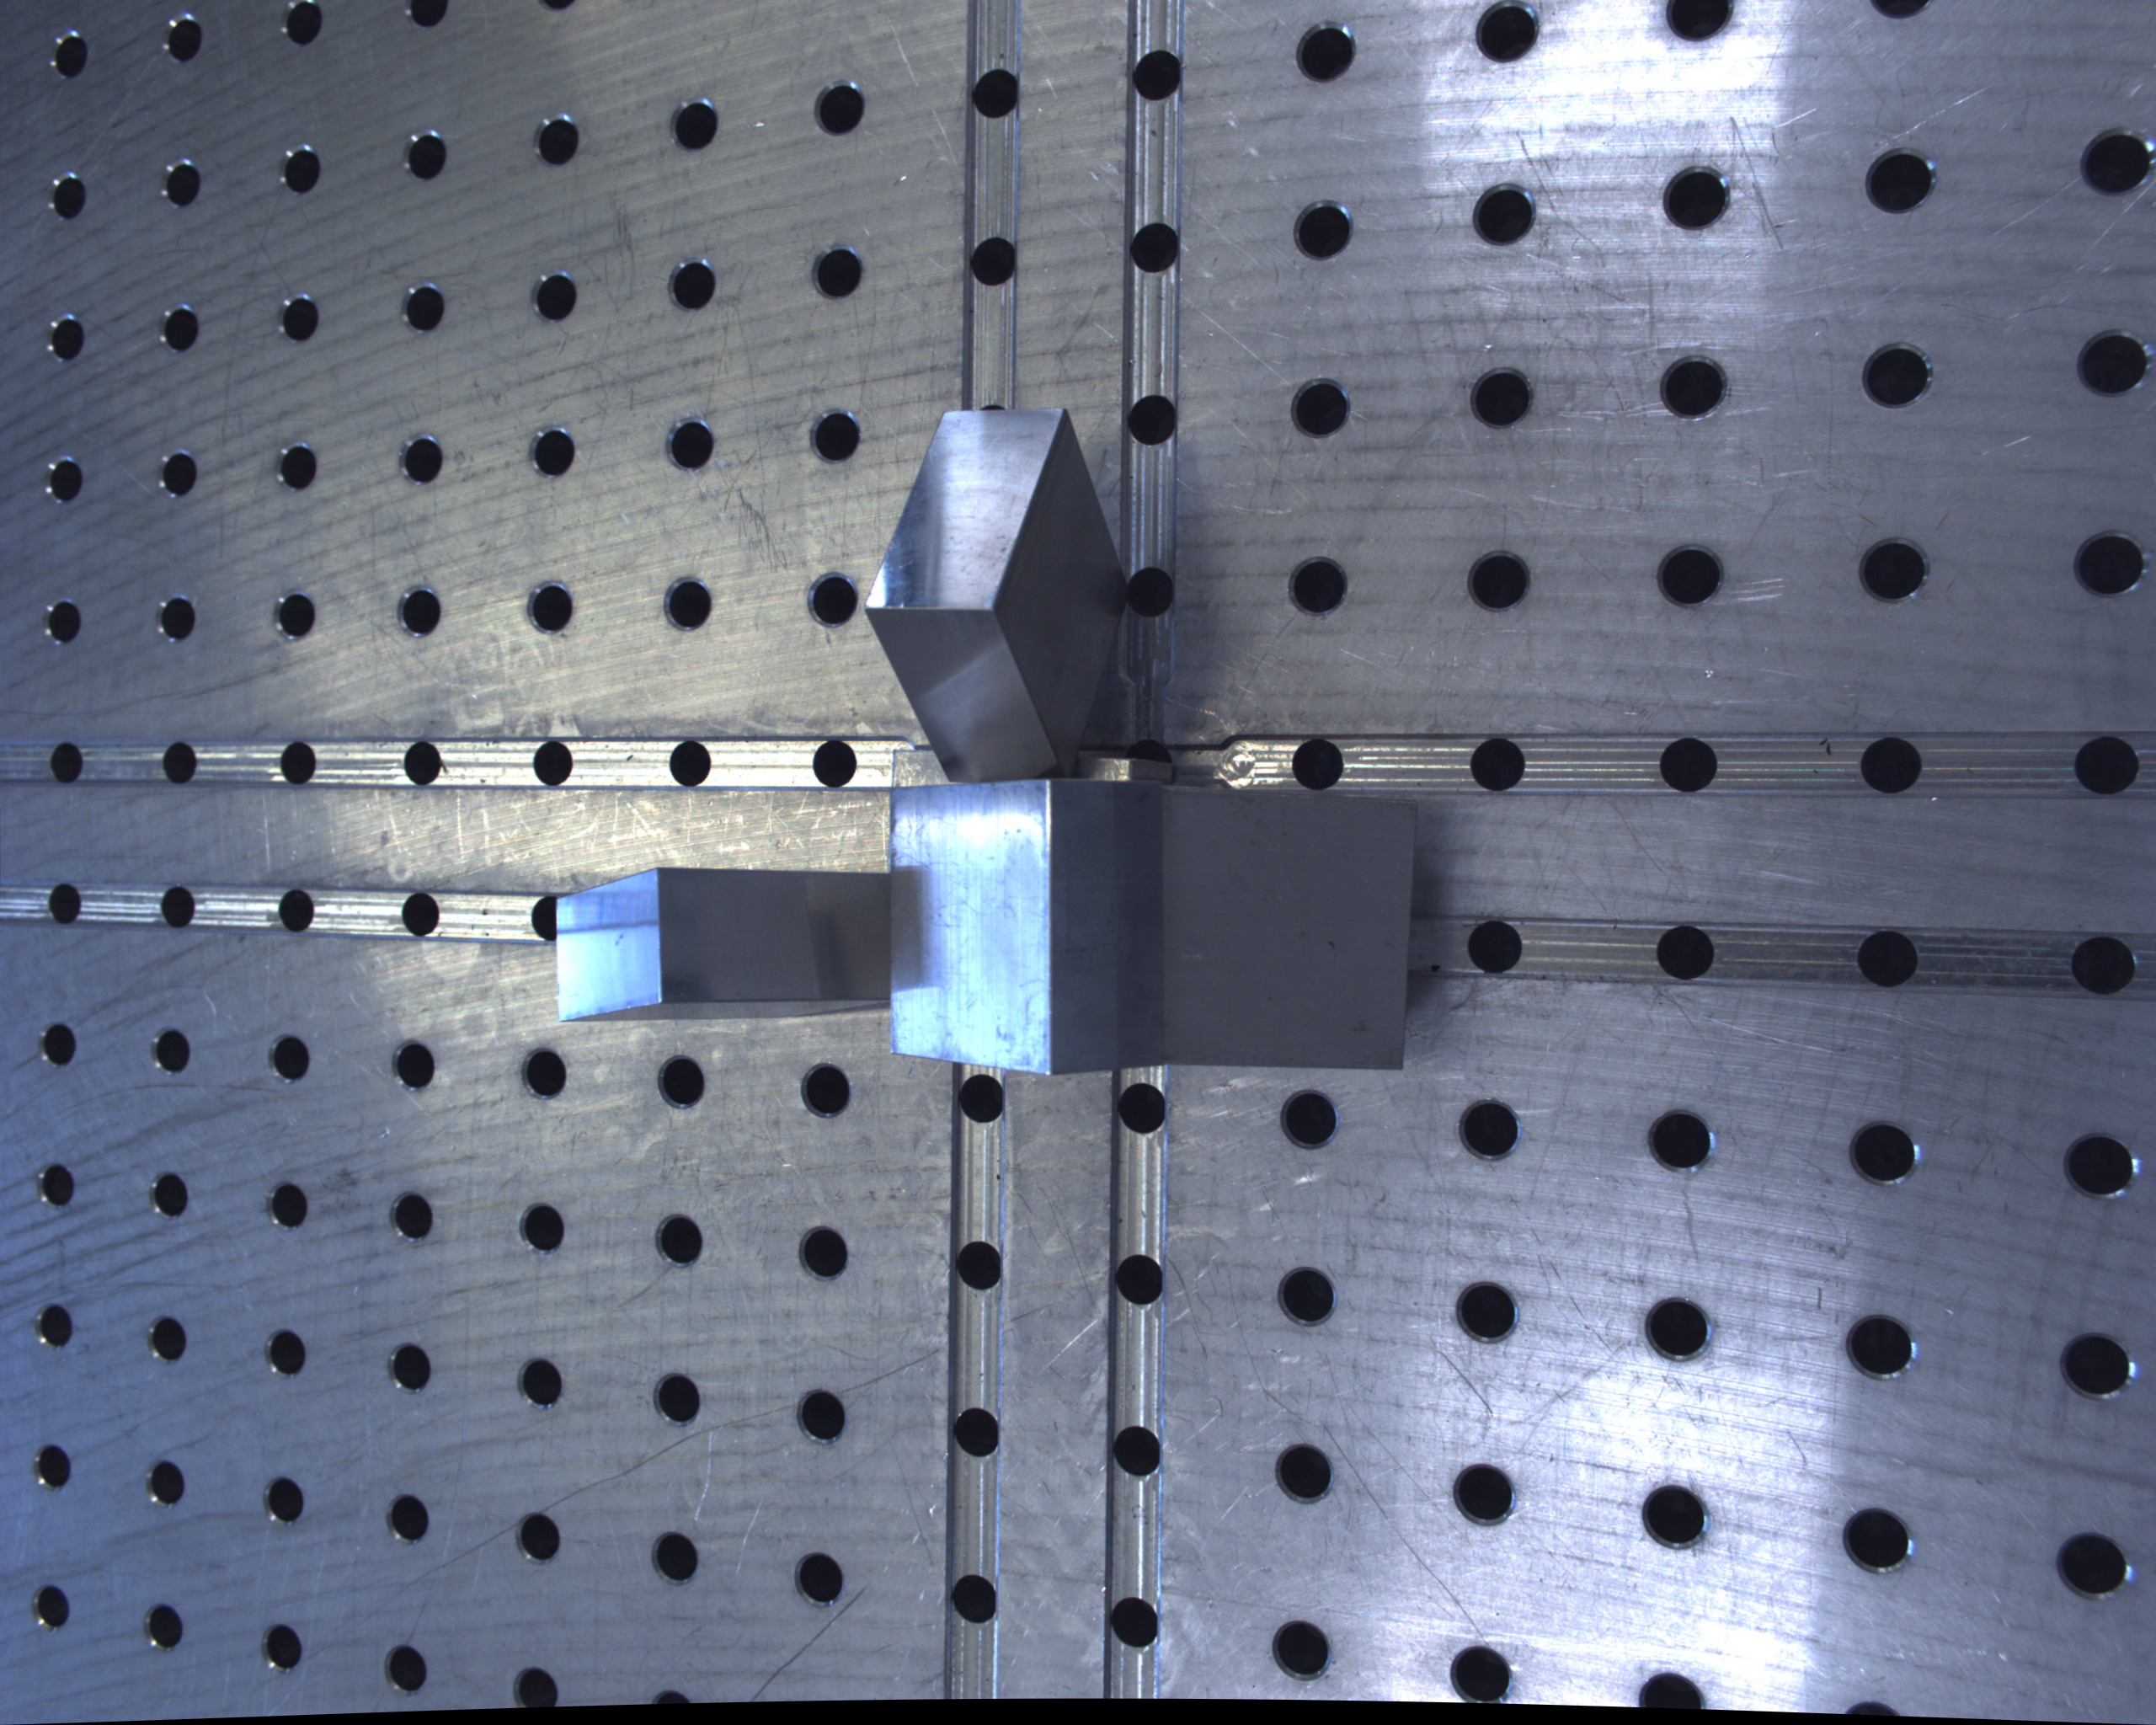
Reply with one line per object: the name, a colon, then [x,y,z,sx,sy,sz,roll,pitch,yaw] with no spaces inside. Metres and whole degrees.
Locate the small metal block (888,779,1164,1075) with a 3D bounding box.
small metal block: [-0.010,0.011,0.378,0.050,0.025,0.050,-1,90,53]

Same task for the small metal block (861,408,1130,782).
small metal block: [-0.014,-0.050,0.394,0.025,0.050,0.050,3,55,21]

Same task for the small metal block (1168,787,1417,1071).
small metal block: [0.034,0.012,0.389,0.050,0.025,0.050,2,91,-11]

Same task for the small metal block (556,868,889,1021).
small metal block: [-0.070,0.017,0.414,0.050,0.050,0.025,-12,78,54]

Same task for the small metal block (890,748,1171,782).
small metal block: [-0.010,0.003,0.417,0.050,0.025,0.050,3,91,20]
